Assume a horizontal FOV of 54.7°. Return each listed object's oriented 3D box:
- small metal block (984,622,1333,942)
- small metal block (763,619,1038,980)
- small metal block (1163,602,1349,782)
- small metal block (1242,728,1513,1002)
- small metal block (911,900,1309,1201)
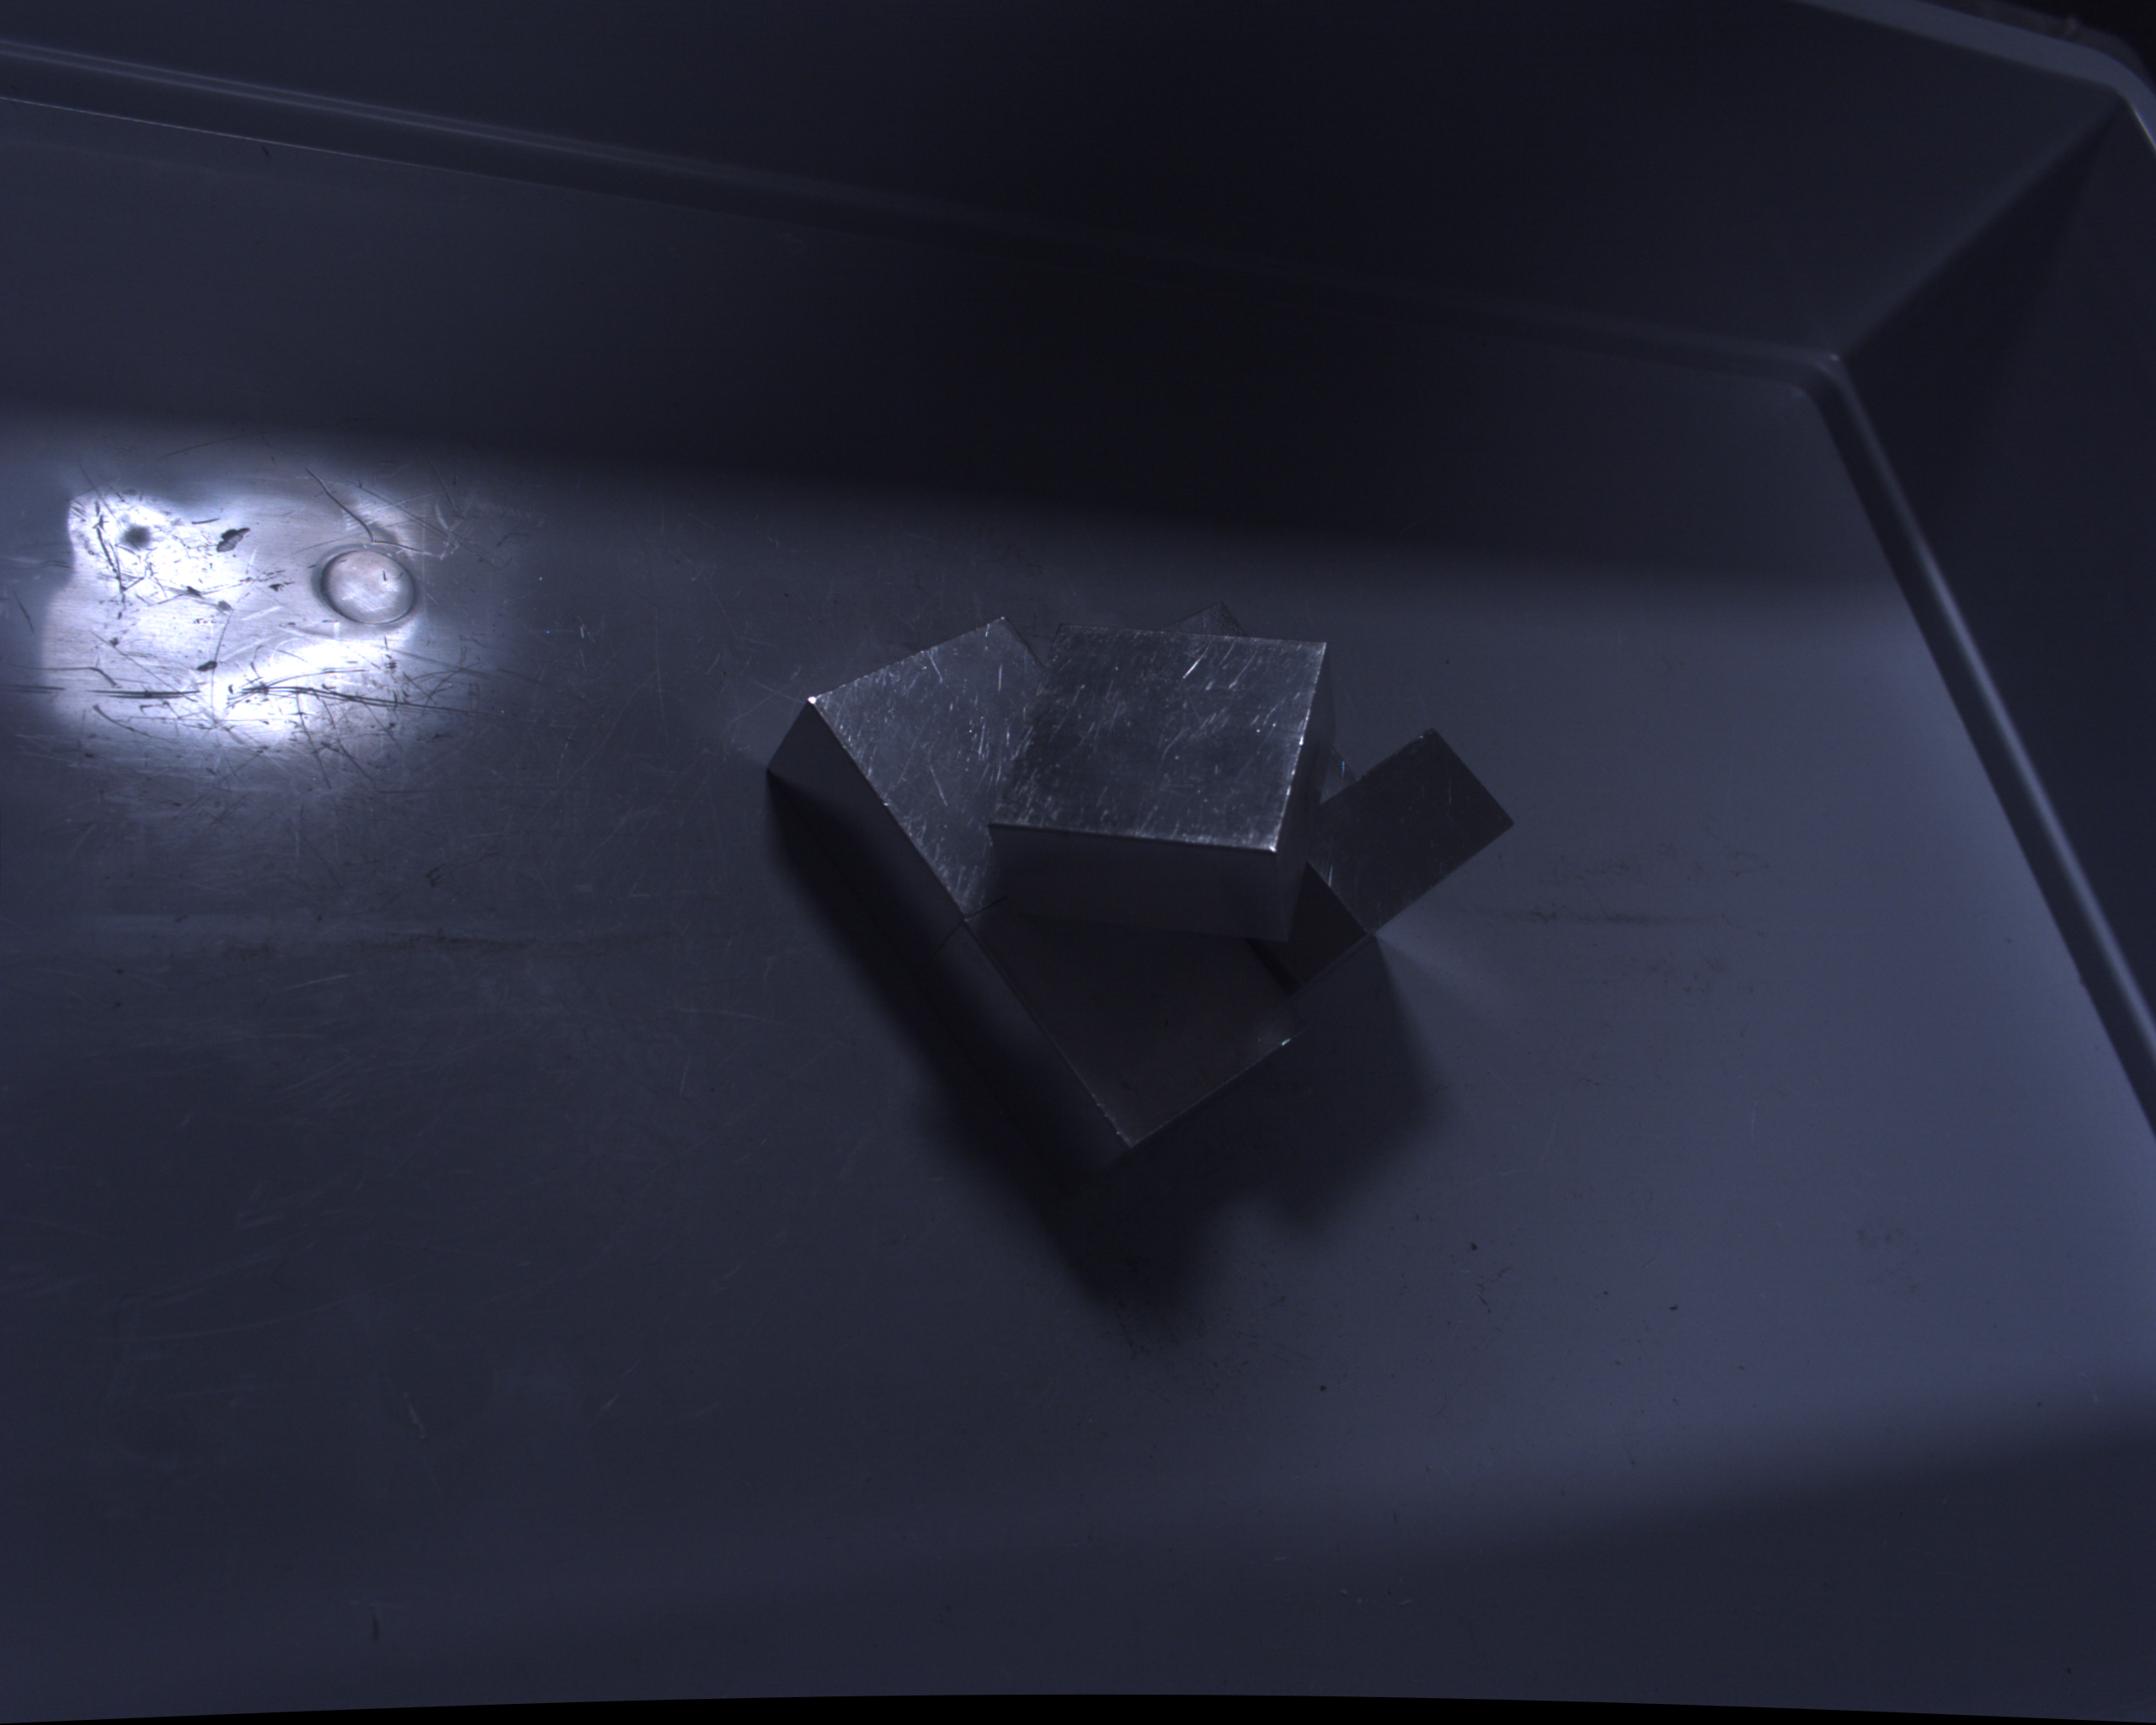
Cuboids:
[{"bbox_3d":[0.016,-0.015,0.375,0.050,0.025,0.050,6,51,15],"label":"small metal block"},{"bbox_3d":[-0.023,-0.013,0.401,0.050,0.025,0.050,-28,77,-38],"label":"small metal block"},{"bbox_3d":[0.022,-0.020,0.429,0.050,0.025,0.050,-28,77,-38],"label":"small metal block"},{"bbox_3d":[0.050,0.005,0.413,0.050,0.050,0.025,-32,80,-39],"label":"small metal block"},{"bbox_3d":[0.006,0.027,0.392,0.050,0.025,0.050,-28,77,-38],"label":"small metal block"}]
